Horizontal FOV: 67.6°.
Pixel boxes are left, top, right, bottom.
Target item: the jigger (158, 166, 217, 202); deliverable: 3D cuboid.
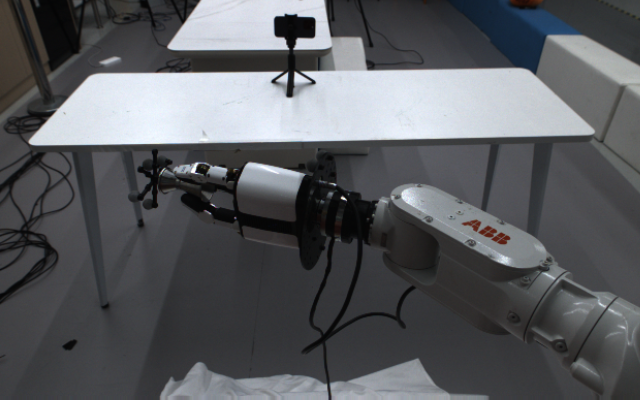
[{"bbox_3d":[-0.186,-0.027,0.695,0.071,0.043,0.043,9,35,12],"label":"jigger"}]
